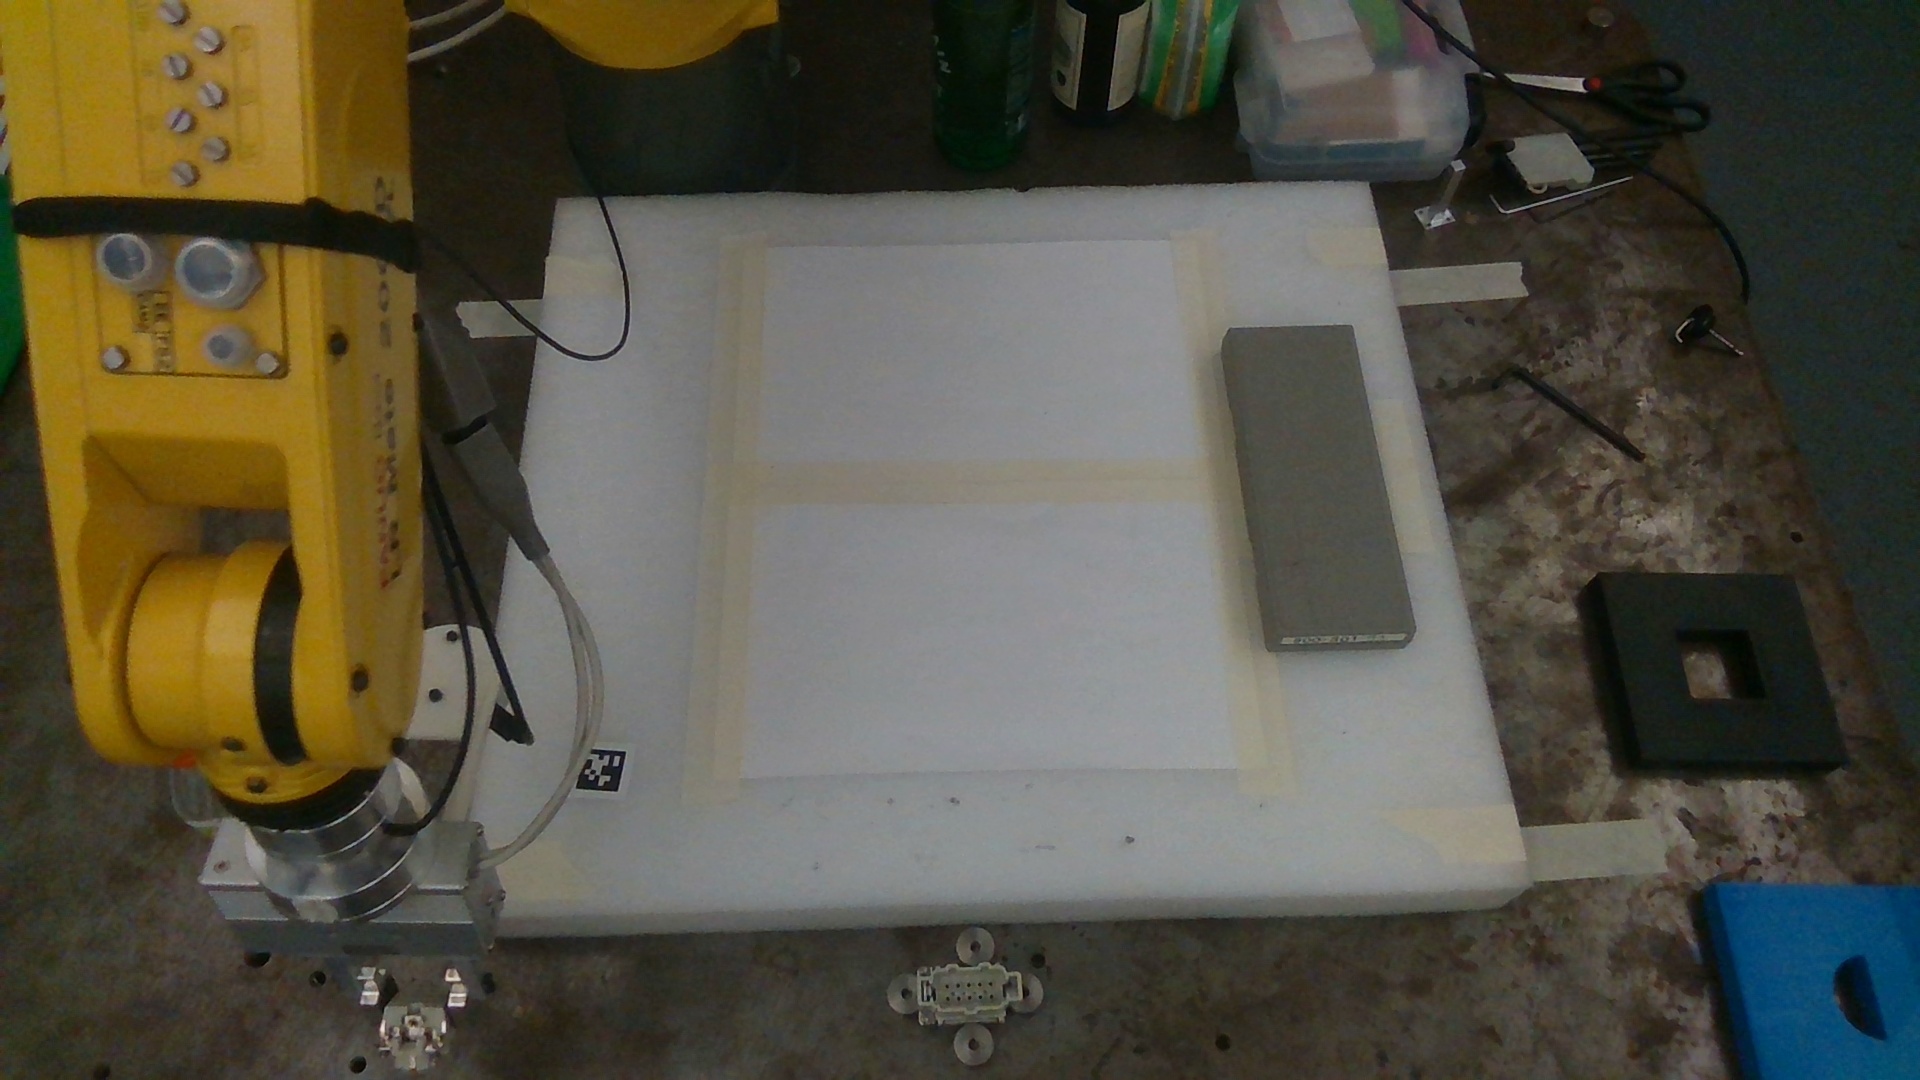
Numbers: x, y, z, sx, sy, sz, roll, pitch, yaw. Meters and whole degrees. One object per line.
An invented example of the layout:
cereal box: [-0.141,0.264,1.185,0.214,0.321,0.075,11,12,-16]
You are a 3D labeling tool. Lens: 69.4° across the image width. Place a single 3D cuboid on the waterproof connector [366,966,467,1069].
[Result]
waterproof connector: [-0.296,0.260,0.757,0.037,0.069,0.038,3,93,-6]
